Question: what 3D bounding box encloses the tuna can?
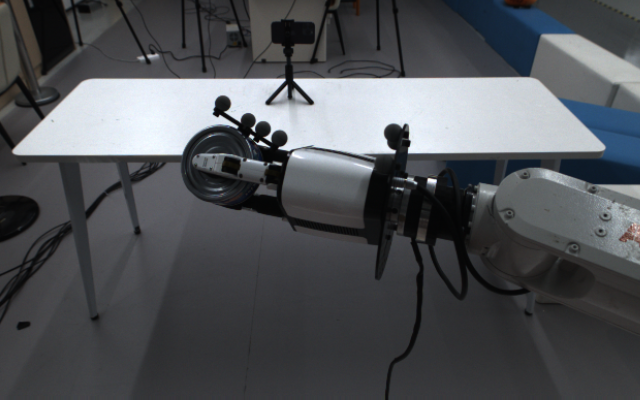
[{"bbox_3d":[-0.105,-0.038,0.529,0.085,0.085,0.034,13,-4,15],"label":"tuna can"}]
